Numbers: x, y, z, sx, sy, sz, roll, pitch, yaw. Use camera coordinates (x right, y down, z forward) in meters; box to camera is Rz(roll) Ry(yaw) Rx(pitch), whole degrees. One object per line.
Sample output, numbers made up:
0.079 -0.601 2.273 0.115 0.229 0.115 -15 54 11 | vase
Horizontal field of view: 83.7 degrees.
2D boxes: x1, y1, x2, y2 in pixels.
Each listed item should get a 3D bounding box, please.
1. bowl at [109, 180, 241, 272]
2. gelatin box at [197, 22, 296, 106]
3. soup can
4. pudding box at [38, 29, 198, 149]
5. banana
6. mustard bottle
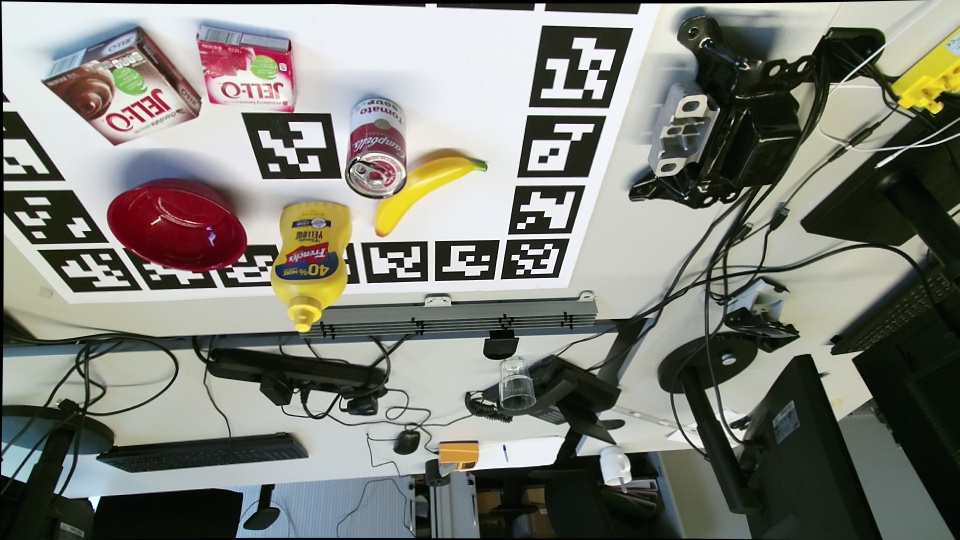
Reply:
-0.402 -0.067 0.714 0.162 0.055 0.162 -5 142 -4 | bowl
-0.245 -0.217 0.570 0.090 0.030 0.073 2 137 -12 | gelatin box
-0.114 -0.135 0.620 0.068 0.101 0.068 -3 142 -2 | soup can
-0.382 -0.191 0.573 0.114 0.038 0.090 -17 134 12 | pudding box
-0.084 -0.096 0.736 0.197 0.038 0.074 -34 144 29 | banana
-0.225 0.002 0.696 0.096 0.190 0.058 -2 143 -7 | mustard bottle
